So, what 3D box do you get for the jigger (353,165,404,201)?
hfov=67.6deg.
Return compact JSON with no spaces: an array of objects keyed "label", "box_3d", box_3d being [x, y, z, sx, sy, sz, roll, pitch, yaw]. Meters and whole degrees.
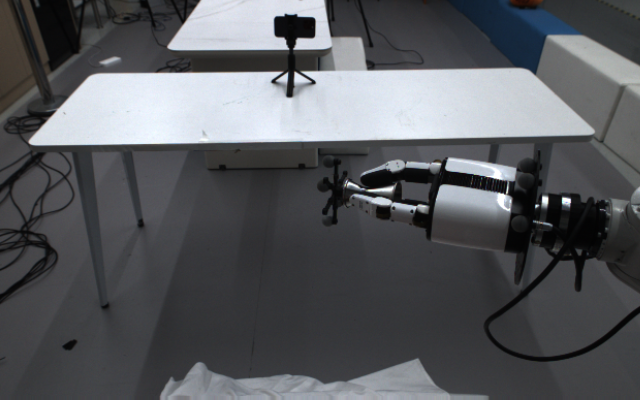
[{"label":"jigger","box_3d":[0.074,-0.009,0.628,0.071,0.043,0.043,6,34,22]}]
